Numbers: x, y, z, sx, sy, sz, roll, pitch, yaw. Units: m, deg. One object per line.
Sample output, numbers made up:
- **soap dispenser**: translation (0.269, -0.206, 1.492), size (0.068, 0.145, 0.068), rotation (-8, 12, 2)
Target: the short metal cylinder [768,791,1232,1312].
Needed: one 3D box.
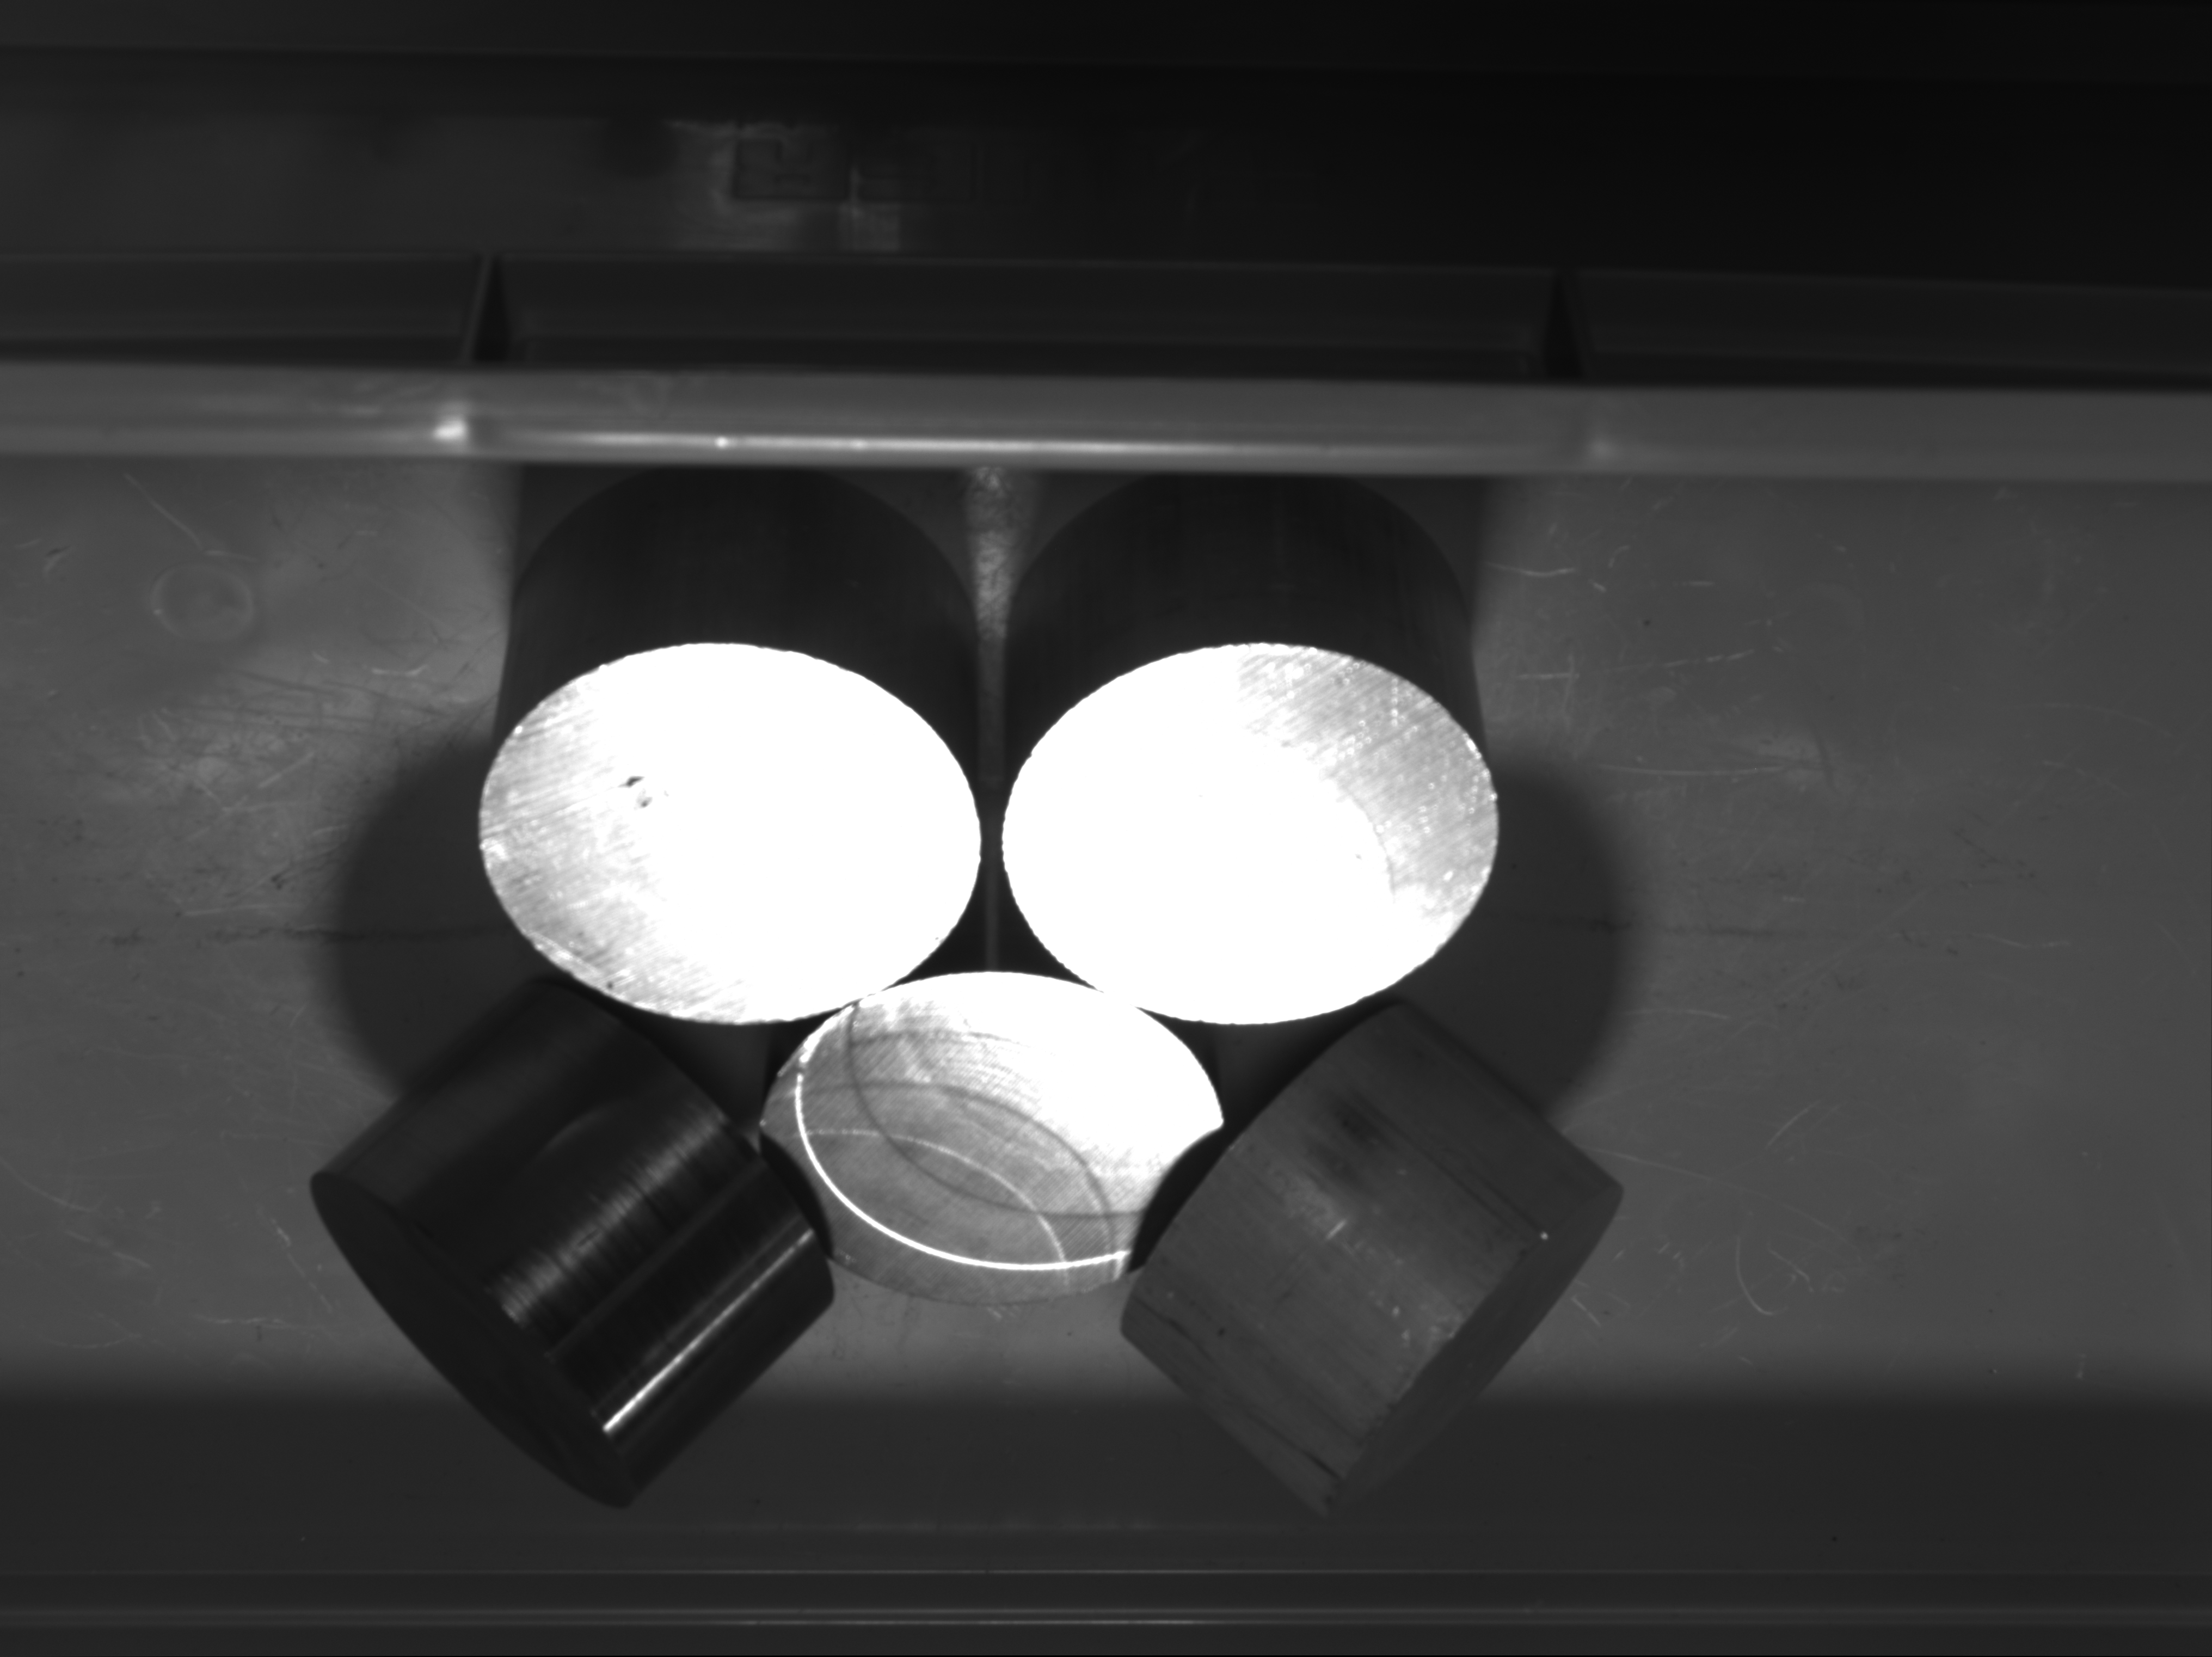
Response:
- **short metal cylinder**: translation (-0.019, 0.040, 0.651), size (0.080, 0.050, 0.080), rotation (-1, 130, -1)

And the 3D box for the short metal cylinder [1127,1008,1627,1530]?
- **short metal cylinder**: translation (0.049, 0.079, 0.661), size (0.050, 0.080, 0.080), rotation (40, 128, 17)

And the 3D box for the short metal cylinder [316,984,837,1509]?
- **short metal cylinder**: translation (-0.094, 0.074, 0.653), size (0.050, 0.080, 0.080), rotation (-44, 132, -24)

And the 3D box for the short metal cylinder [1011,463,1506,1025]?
- **short metal cylinder**: translation (0.024, -0.014, 0.610), size (0.080, 0.050, 0.080), rotation (-1, 130, -1)

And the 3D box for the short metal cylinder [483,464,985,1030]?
- **short metal cylinder**: translation (-0.060, -0.013, 0.606), size (0.080, 0.050, 0.080), rotation (-1, 130, -1)
